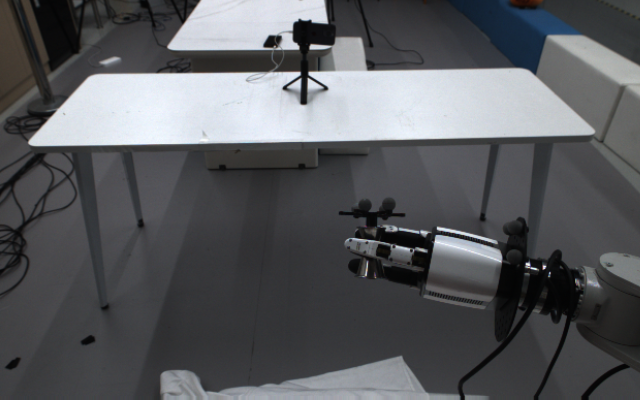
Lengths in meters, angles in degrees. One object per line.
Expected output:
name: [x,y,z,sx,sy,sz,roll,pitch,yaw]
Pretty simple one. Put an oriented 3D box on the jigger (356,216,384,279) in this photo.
jigger: [0.069,0.069,0.651,0.043,0.071,0.043,1,-6,0]
